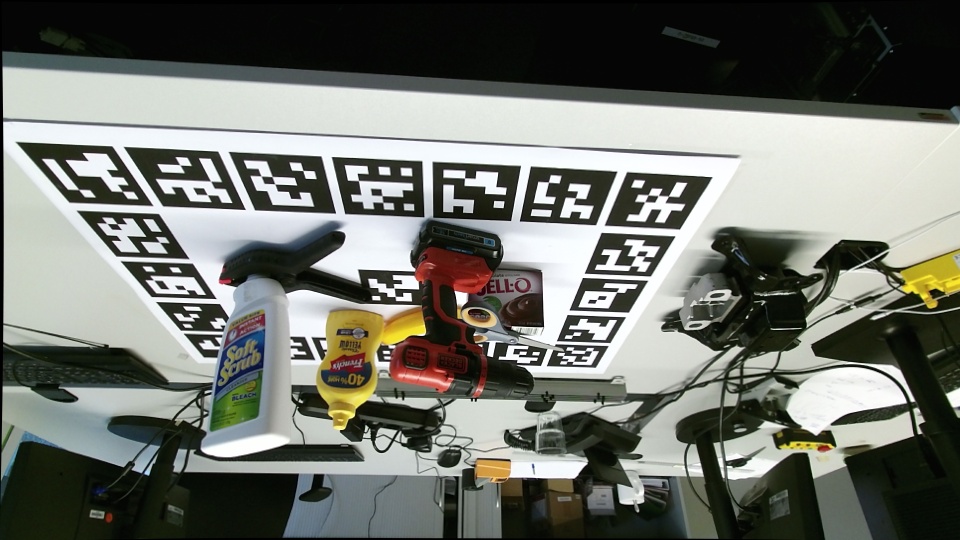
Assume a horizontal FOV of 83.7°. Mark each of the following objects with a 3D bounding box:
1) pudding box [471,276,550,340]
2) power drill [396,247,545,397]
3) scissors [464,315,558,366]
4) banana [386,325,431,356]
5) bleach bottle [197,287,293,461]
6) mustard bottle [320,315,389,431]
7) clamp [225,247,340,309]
[{"bbox_3d":[0.043,0.056,0.797,0.114,0.089,0.039,5,151,-6],"label":"pudding box"},{"bbox_3d":[-0.010,0.068,0.681,0.185,0.186,0.057,7,151,-15],"label":"power drill"},{"bbox_3d":[0.052,0.113,0.766,0.203,0.016,0.088,21,136,-20],"label":"scissors"},{"bbox_3d":[-0.100,0.124,0.925,0.198,0.038,0.074,-23,155,28],"label":"banana"},{"bbox_3d":[-0.307,0.119,0.724,0.103,0.249,0.068,-15,147,8],"label":"bleach bottle"},{"bbox_3d":[-0.207,0.165,0.870,0.096,0.190,0.058,11,143,-13],"label":"mustard bottle"},{"bbox_3d":[-0.272,0.026,0.773,0.203,0.036,0.165,-1,143,4],"label":"clamp"}]
